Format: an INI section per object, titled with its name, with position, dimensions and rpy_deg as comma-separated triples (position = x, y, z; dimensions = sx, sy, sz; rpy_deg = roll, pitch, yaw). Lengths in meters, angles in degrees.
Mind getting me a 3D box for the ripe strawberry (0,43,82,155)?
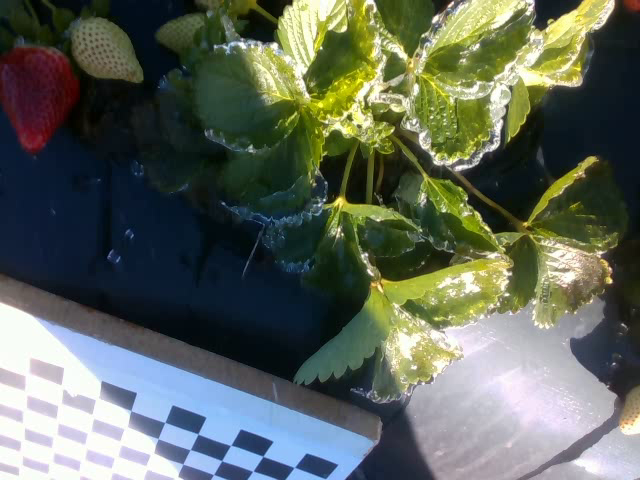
[ripe strawberry]
position = -0.129, -0.061, 0.270
dimensions = 0.040, 0.053, 0.042
rpy_deg = -8, -25, 14
